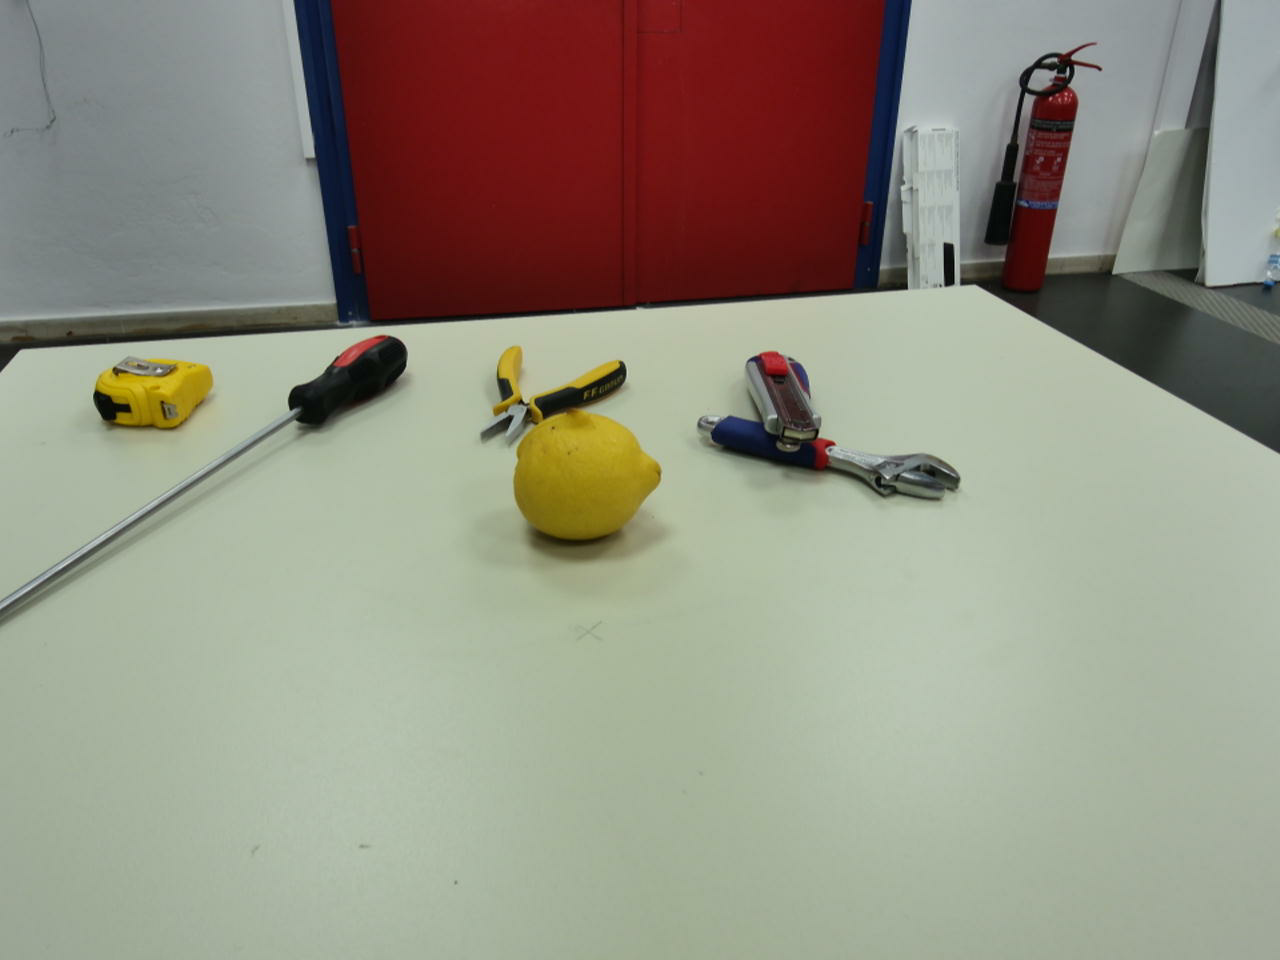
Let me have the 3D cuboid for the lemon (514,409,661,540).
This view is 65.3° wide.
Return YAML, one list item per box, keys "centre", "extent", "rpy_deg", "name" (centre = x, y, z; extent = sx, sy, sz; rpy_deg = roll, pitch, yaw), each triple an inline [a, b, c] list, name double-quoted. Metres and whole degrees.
- centre: [-0.032, -0.005, 0.522]
  extent: [0.071, 0.071, 0.070]
  rpy_deg: [23, 34, 38]
  name: "lemon"
